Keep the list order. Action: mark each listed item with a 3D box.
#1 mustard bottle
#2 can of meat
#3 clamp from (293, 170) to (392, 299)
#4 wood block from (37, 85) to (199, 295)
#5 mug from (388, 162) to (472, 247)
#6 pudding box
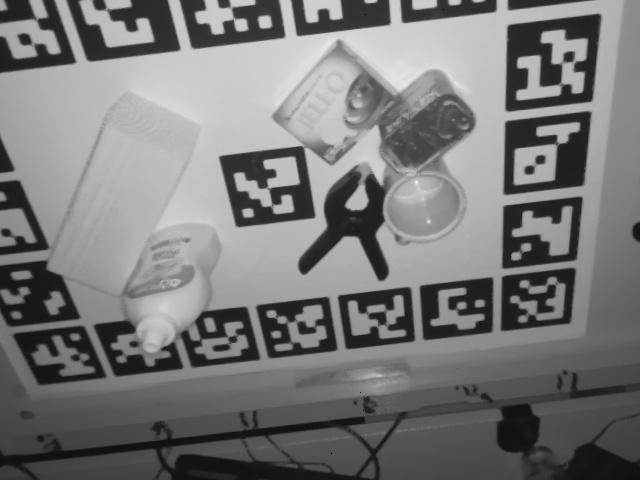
[{"bbox_3d":[-0.170,0.061,0.775,0.096,0.193,0.058,-10,121,4],"label":"mustard bottle"},{"bbox_3d":[0.119,-0.122,0.735,0.101,0.084,0.058,-33,116,17],"label":"can of meat"},{"bbox_3d":[0.042,-0.006,0.841,0.122,0.037,0.163,11,118,-7],"label":"clamp"},{"bbox_3d":[-0.223,-0.051,0.769,0.090,0.091,0.203,26,119,-19],"label":"wood block"},{"bbox_3d":[0.119,-0.046,0.815,0.094,0.082,0.116,13,119,-10],"label":"mug"},{"bbox_3d":[0.019,-0.145,0.749,0.090,0.039,0.112,39,114,-22],"label":"pudding box"}]
